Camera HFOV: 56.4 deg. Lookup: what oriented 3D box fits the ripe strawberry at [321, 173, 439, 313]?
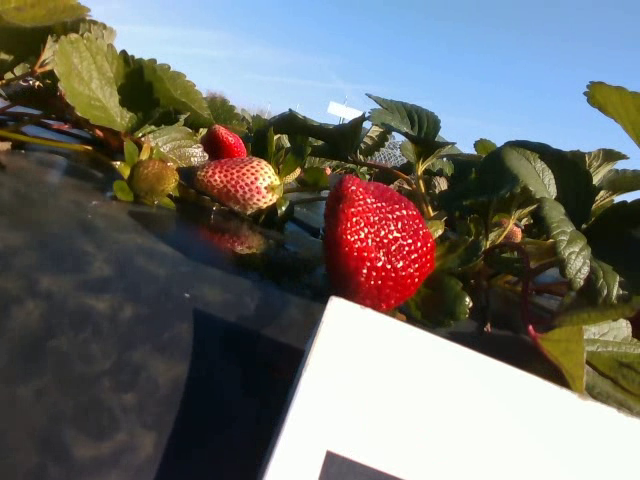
[{"bbox_3d":[0.014,0.001,0.201,0.058,0.066,0.062,-30,-29,-8],"label":"ripe strawberry"}]
